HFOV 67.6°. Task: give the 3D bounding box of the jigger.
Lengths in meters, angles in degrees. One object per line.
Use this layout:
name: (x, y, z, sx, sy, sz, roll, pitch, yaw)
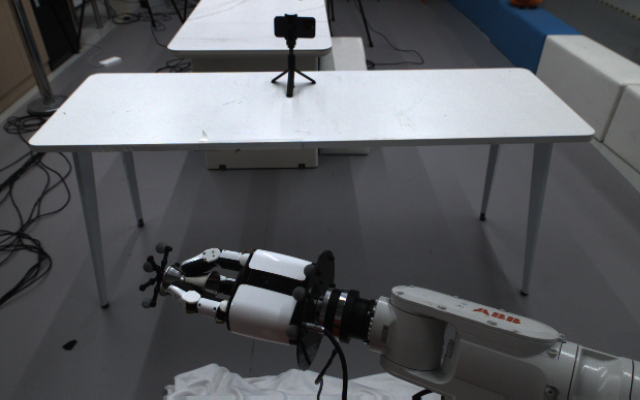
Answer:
jigger: (-0.177, 0.114, 0.687, 0.071, 0.043, 0.043, 7, 35, 17)
